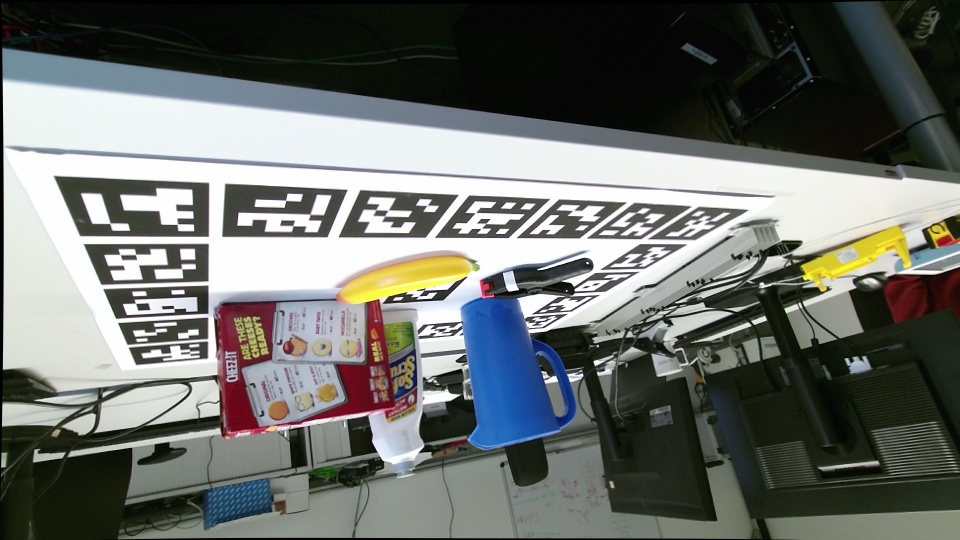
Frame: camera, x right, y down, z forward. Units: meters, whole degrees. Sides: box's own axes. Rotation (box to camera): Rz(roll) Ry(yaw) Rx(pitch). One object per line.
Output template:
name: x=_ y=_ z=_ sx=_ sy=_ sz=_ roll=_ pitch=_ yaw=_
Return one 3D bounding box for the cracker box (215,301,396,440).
cracker box: x=-0.236 y=0.133 z=0.732 sx=0.214 sy=0.163 sz=0.072 roll=-2 pitch=161 yaw=-31

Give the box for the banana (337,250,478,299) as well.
banana: x=-0.103 y=0.005 z=0.716 sx=0.198 sy=0.038 sz=0.074 roll=-14 pitch=161 yaw=3

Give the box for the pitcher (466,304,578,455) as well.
pitcher: x=0.058 y=0.184 z=0.911 sx=0.189 sy=0.241 sz=0.133 roll=-6 pitch=160 yaw=-10

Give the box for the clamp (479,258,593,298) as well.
clamp: x=0.081 y=0.018 z=0.840 sx=0.166 sy=0.036 sz=0.122 roll=-6 pitch=161 yaw=-13

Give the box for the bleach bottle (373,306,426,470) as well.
bleach bottle: x=-0.128 y=0.185 z=0.858 sx=0.103 sy=0.249 sz=0.068 roll=-2 pitch=158 yaw=-29
